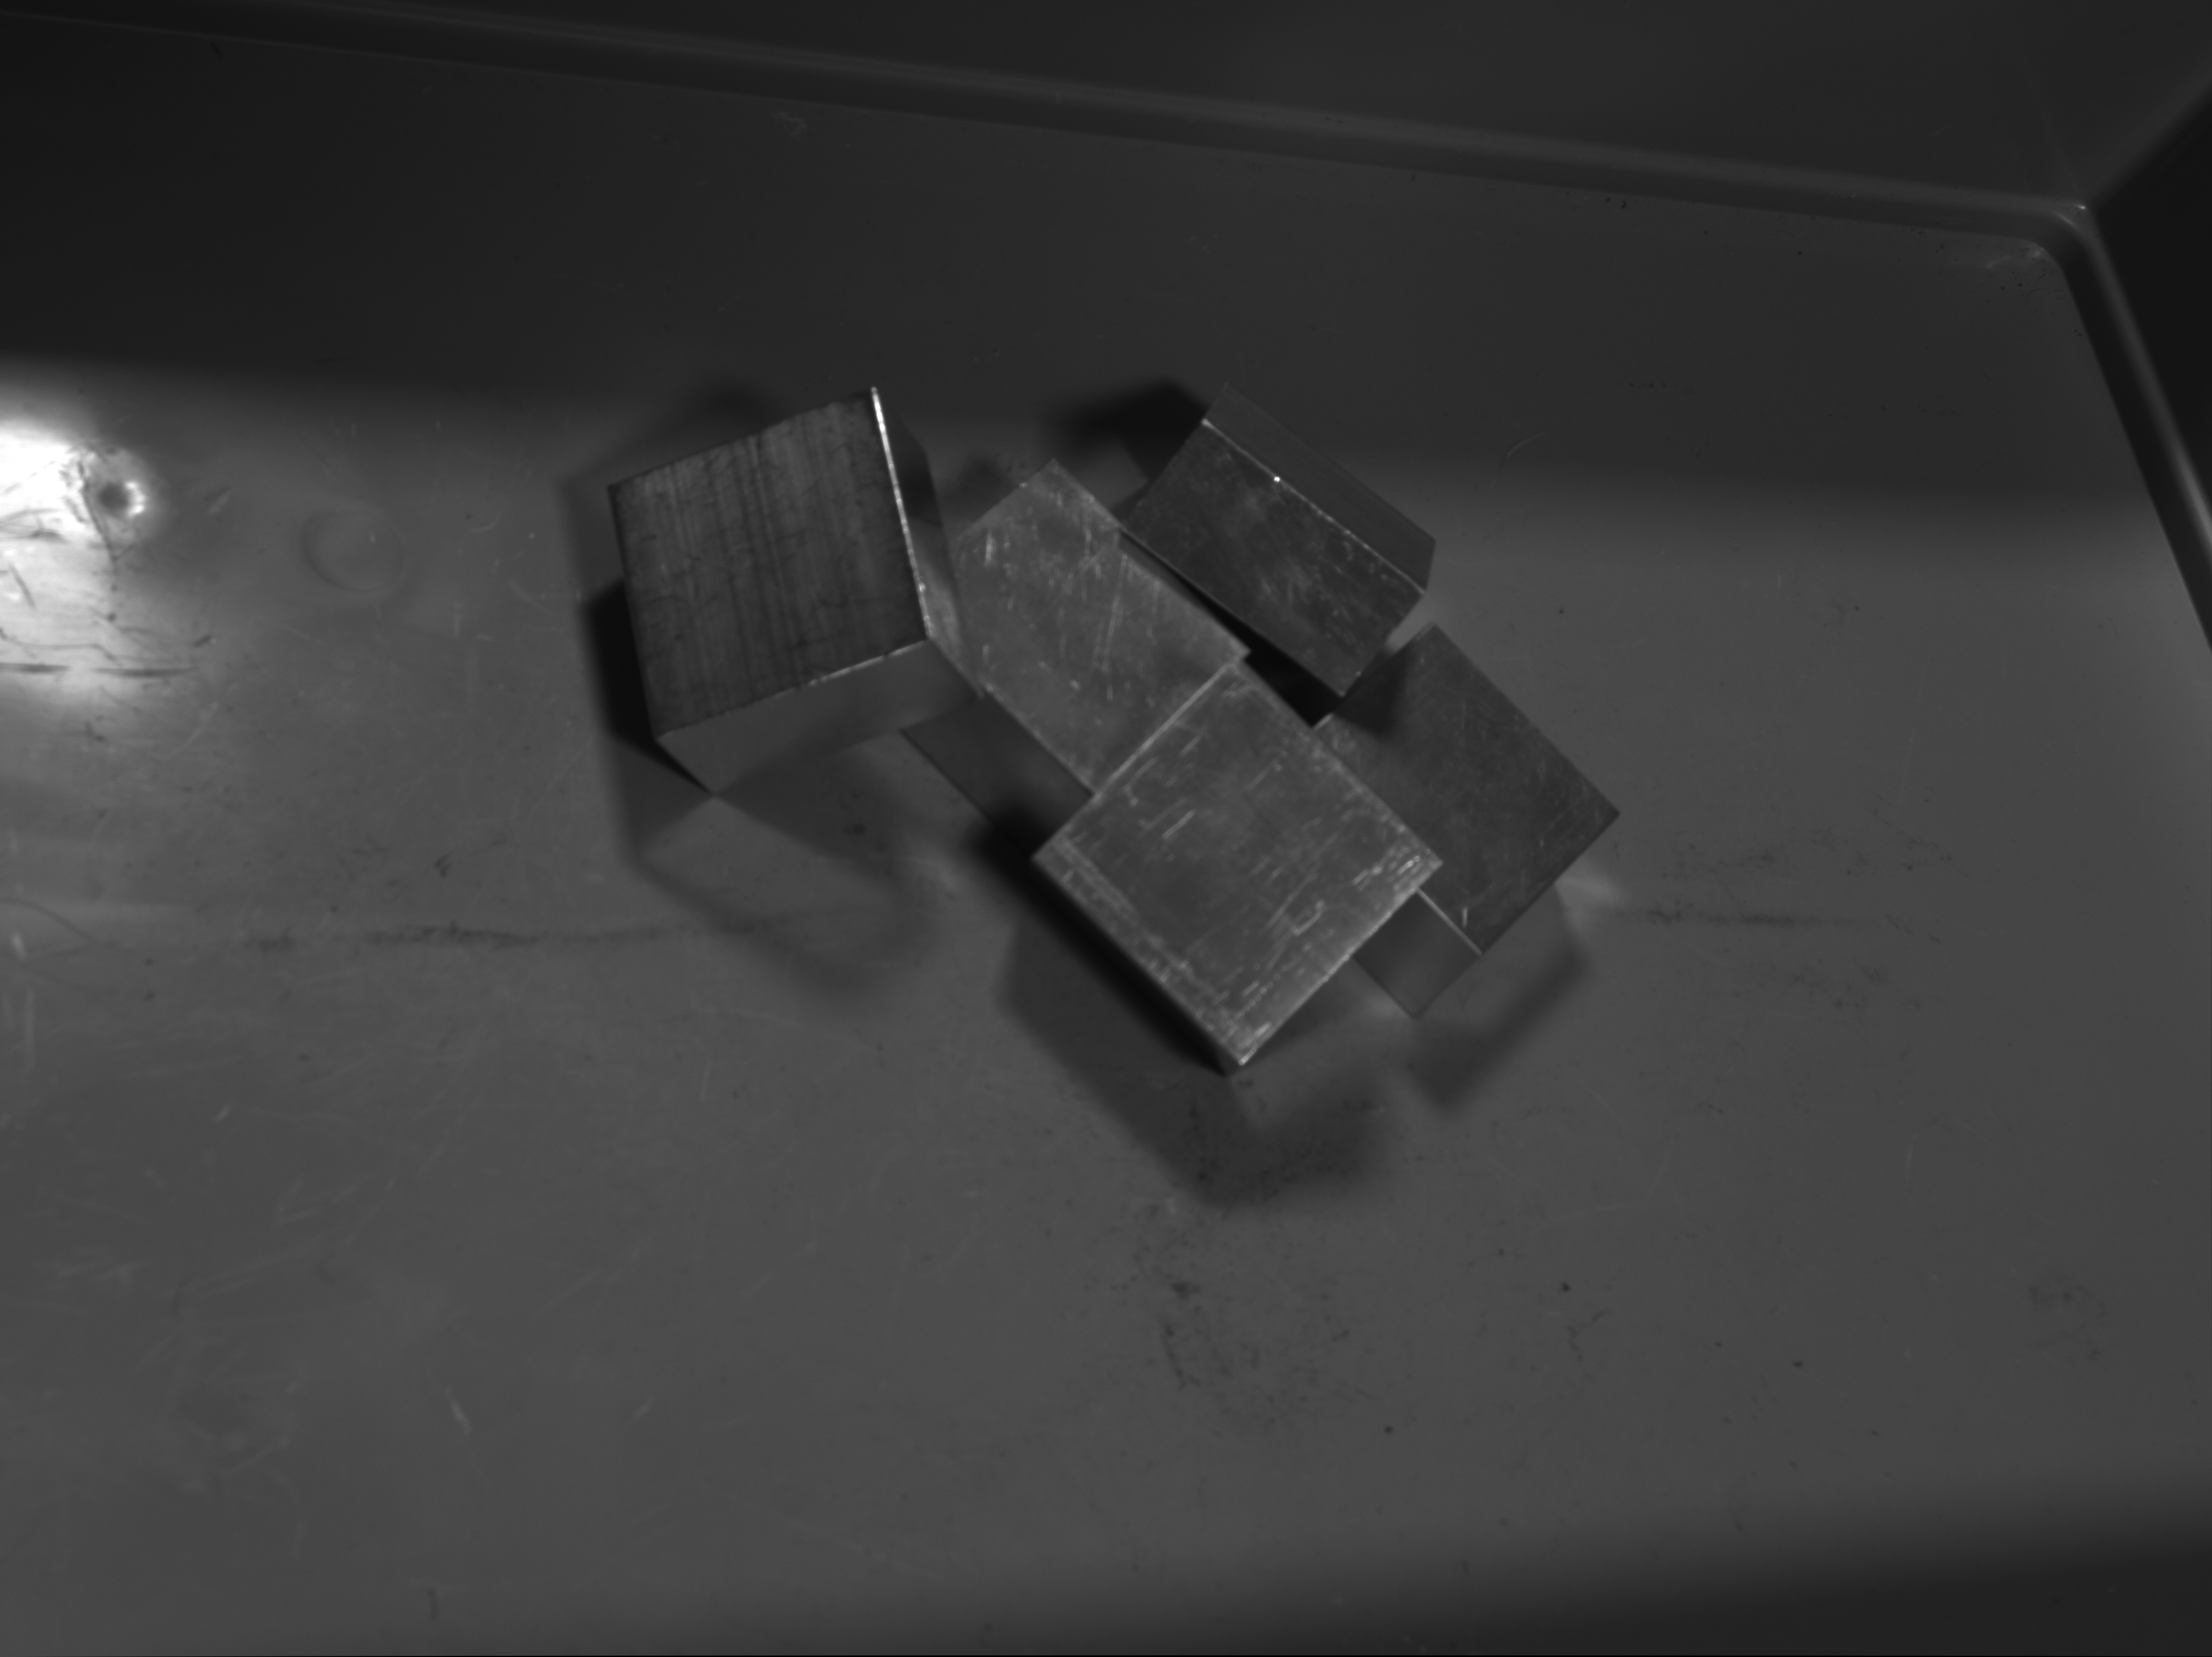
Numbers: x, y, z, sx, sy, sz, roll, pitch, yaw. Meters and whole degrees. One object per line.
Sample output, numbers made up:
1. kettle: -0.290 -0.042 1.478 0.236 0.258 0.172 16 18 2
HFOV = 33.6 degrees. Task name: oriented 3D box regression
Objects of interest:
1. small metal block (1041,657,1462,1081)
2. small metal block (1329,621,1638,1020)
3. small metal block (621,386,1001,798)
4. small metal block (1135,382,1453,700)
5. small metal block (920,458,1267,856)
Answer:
1. small metal block: 0.024 0.008 0.632 0.050 0.025 0.050 45 82 3
2. small metal block: 0.061 -0.002 0.672 0.050 0.025 0.050 46 51 4
3. small metal block: -0.050 -0.040 0.618 0.050 0.025 0.050 -19 64 11
4. small metal block: 0.036 -0.054 0.676 0.050 0.025 0.050 37 16 -3
5. small metal block: -0.008 -0.030 0.652 0.050 0.025 0.050 44 51 3
